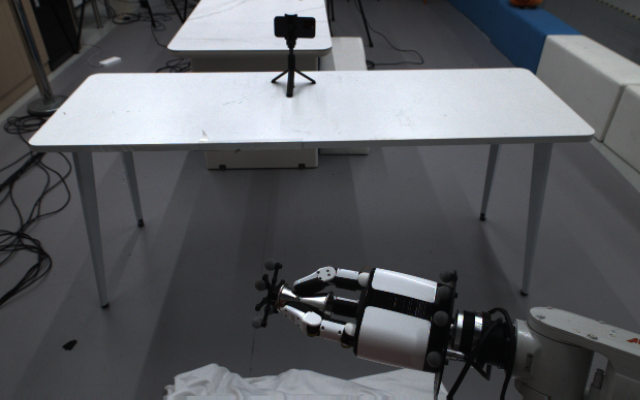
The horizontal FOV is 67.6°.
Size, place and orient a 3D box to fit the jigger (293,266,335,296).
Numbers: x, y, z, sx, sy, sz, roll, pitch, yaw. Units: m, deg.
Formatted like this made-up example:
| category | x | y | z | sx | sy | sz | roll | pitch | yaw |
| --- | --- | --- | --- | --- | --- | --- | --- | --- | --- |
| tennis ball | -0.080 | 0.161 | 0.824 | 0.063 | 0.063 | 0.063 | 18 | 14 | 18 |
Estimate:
| category | x | y | z | sx | sy | sz | roll | pitch | yaw |
| --- | --- | --- | --- | --- | --- | --- | --- | --- | --- |
| jigger | -0.013 | 0.135 | 0.655 | 0.071 | 0.043 | 0.043 | 8 | 35 | 17 |
